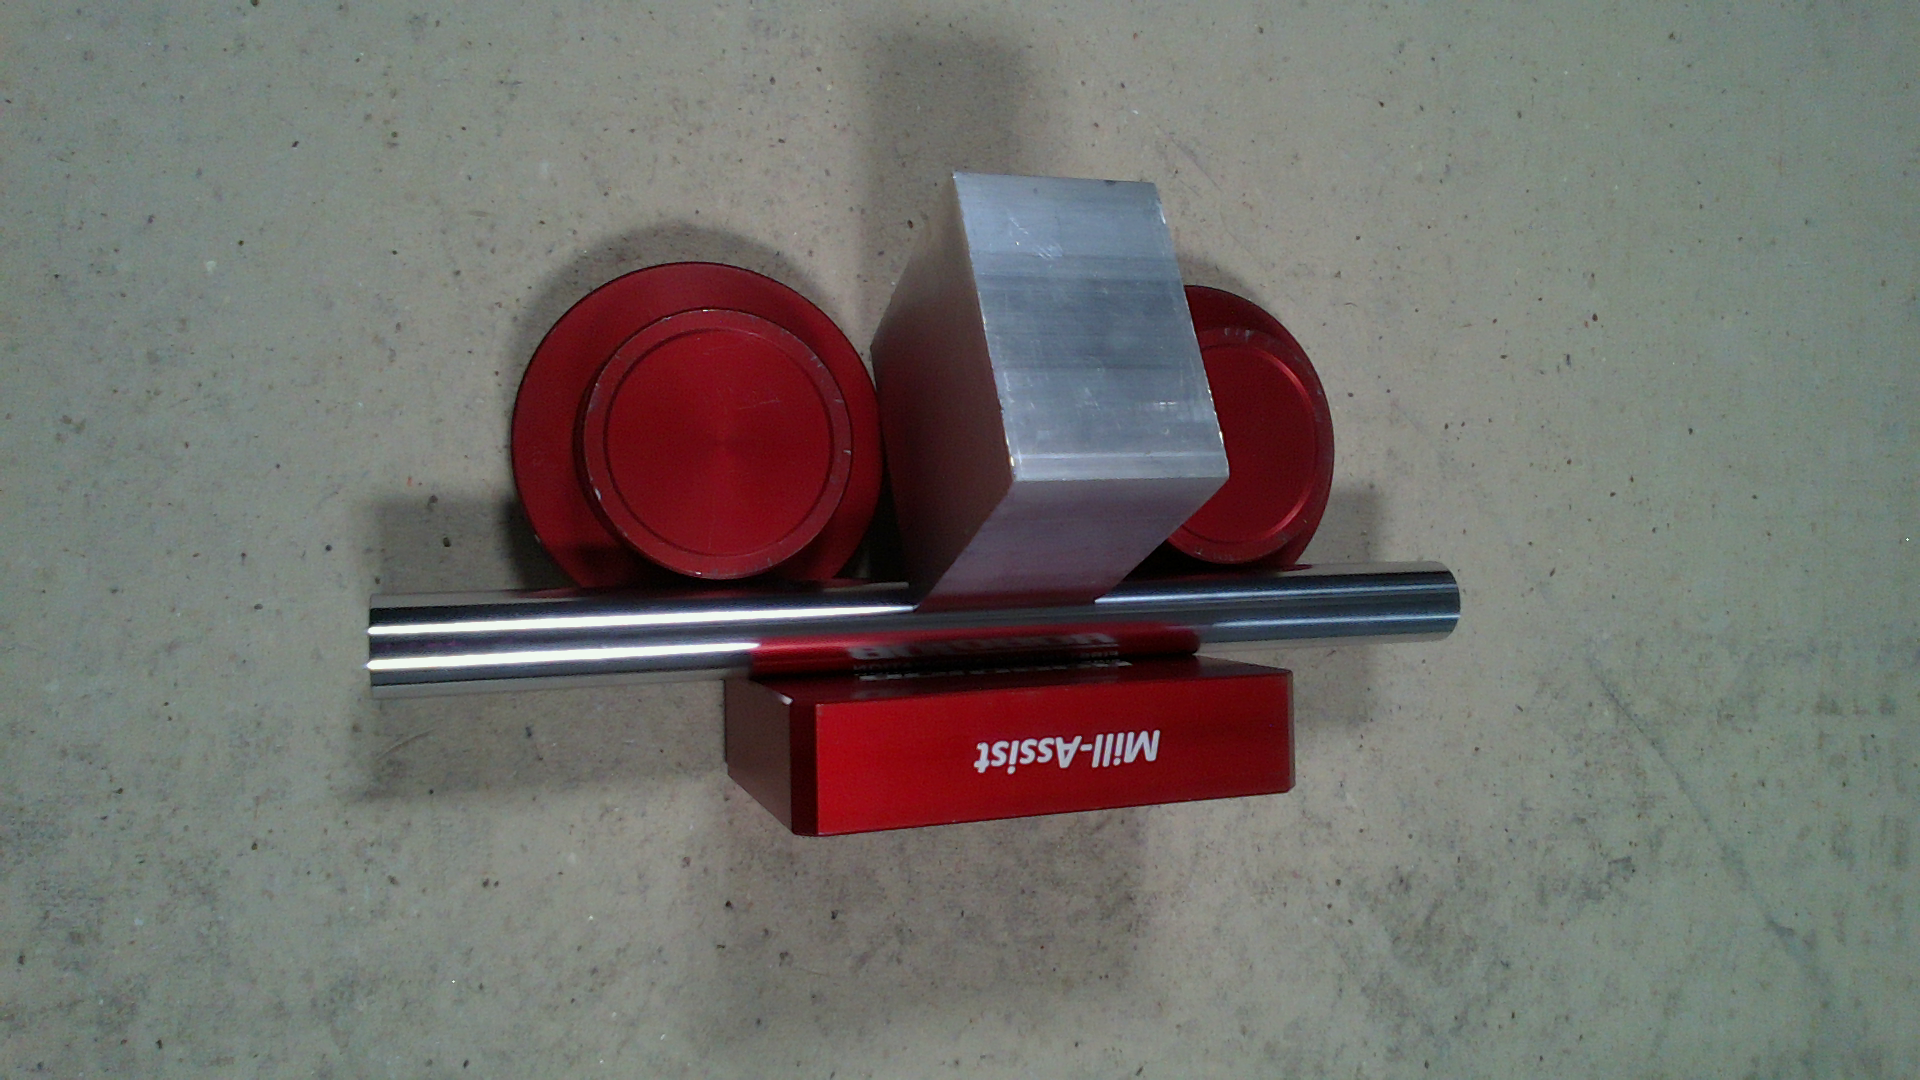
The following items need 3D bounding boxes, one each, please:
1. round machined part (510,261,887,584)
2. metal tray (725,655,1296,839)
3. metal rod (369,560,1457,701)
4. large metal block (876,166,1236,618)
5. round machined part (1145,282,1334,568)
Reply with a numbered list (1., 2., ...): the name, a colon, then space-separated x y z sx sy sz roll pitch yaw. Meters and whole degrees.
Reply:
1. round machined part: -0.066 -0.024 0.359 0.098 0.042 0.098 0 90 -20
2. metal tray: 0.010 0.049 0.363 0.130 0.090 0.030 -1 91 -20
3. metal rod: 0.004 0.022 0.373 0.301 0.025 0.025 -1 91 -20
4. large metal block: 0.018 -0.034 0.343 0.050 0.080 0.080 -2 67 -20
5. round machined part: 0.071 -0.028 0.409 0.098 0.042 0.098 0 90 -20
